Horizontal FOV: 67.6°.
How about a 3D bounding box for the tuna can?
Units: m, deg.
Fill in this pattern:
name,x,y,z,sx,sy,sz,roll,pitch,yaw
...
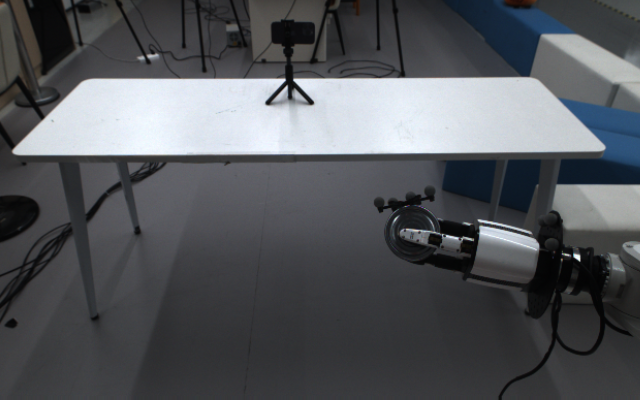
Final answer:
name,x,y,z,sx,sy,sz,roll,pitch,yaw
tuna can,0.144,0.049,0.743,0.085,0.085,0.034,12,-6,14
